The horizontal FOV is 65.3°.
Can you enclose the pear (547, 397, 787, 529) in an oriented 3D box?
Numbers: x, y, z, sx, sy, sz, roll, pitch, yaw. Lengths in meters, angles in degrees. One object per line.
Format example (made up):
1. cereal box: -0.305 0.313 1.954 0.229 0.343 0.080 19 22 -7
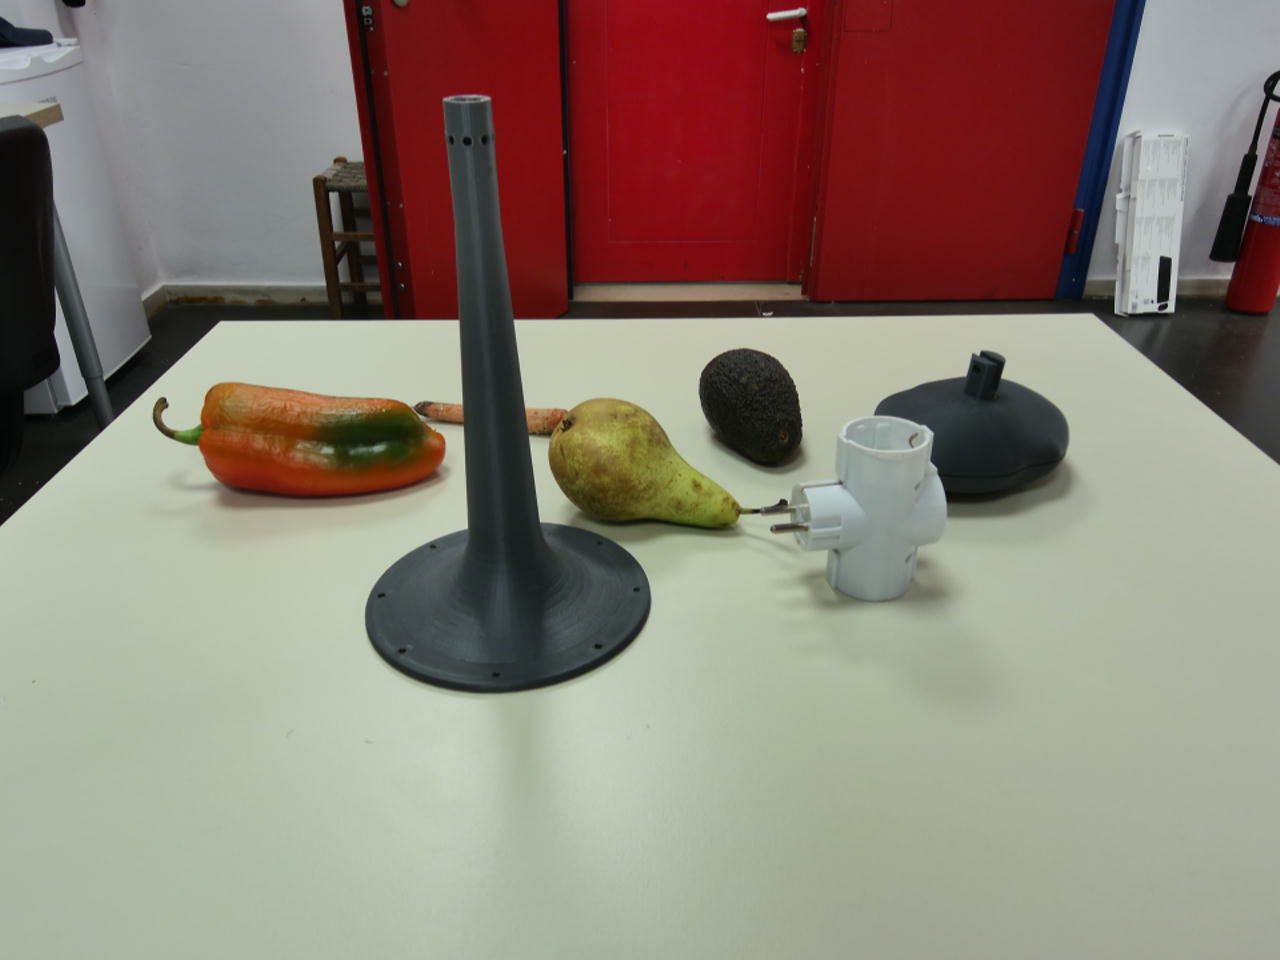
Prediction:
1. pear: 0.017 -0.012 0.599 0.144 0.075 0.071 2 27 6
